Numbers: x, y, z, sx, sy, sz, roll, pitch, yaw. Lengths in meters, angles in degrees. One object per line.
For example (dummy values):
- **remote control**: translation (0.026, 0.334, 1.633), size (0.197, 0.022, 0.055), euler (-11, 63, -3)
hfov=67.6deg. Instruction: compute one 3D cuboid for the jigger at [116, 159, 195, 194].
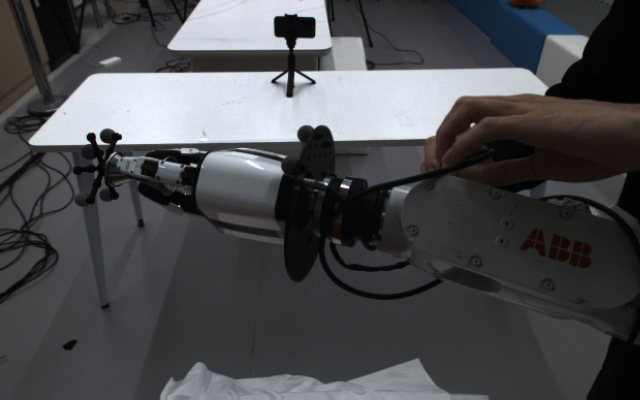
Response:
- **jigger**: translation (-0.190, -0.032, 0.537), size (0.071, 0.043, 0.043), euler (7, 35, 13)
